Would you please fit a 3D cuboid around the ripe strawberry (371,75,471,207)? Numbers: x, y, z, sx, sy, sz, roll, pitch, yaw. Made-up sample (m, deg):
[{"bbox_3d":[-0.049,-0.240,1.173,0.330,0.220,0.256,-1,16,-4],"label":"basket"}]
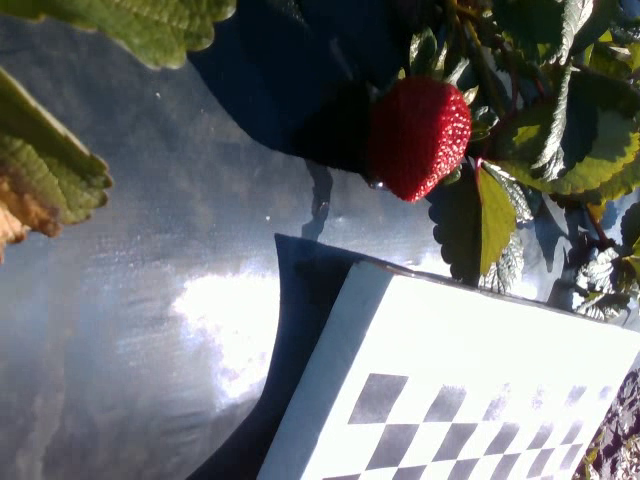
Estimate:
[{"bbox_3d":[0.035,-0.036,0.208,0.058,0.066,0.062,-17,38,1],"label":"ripe strawberry"}]
